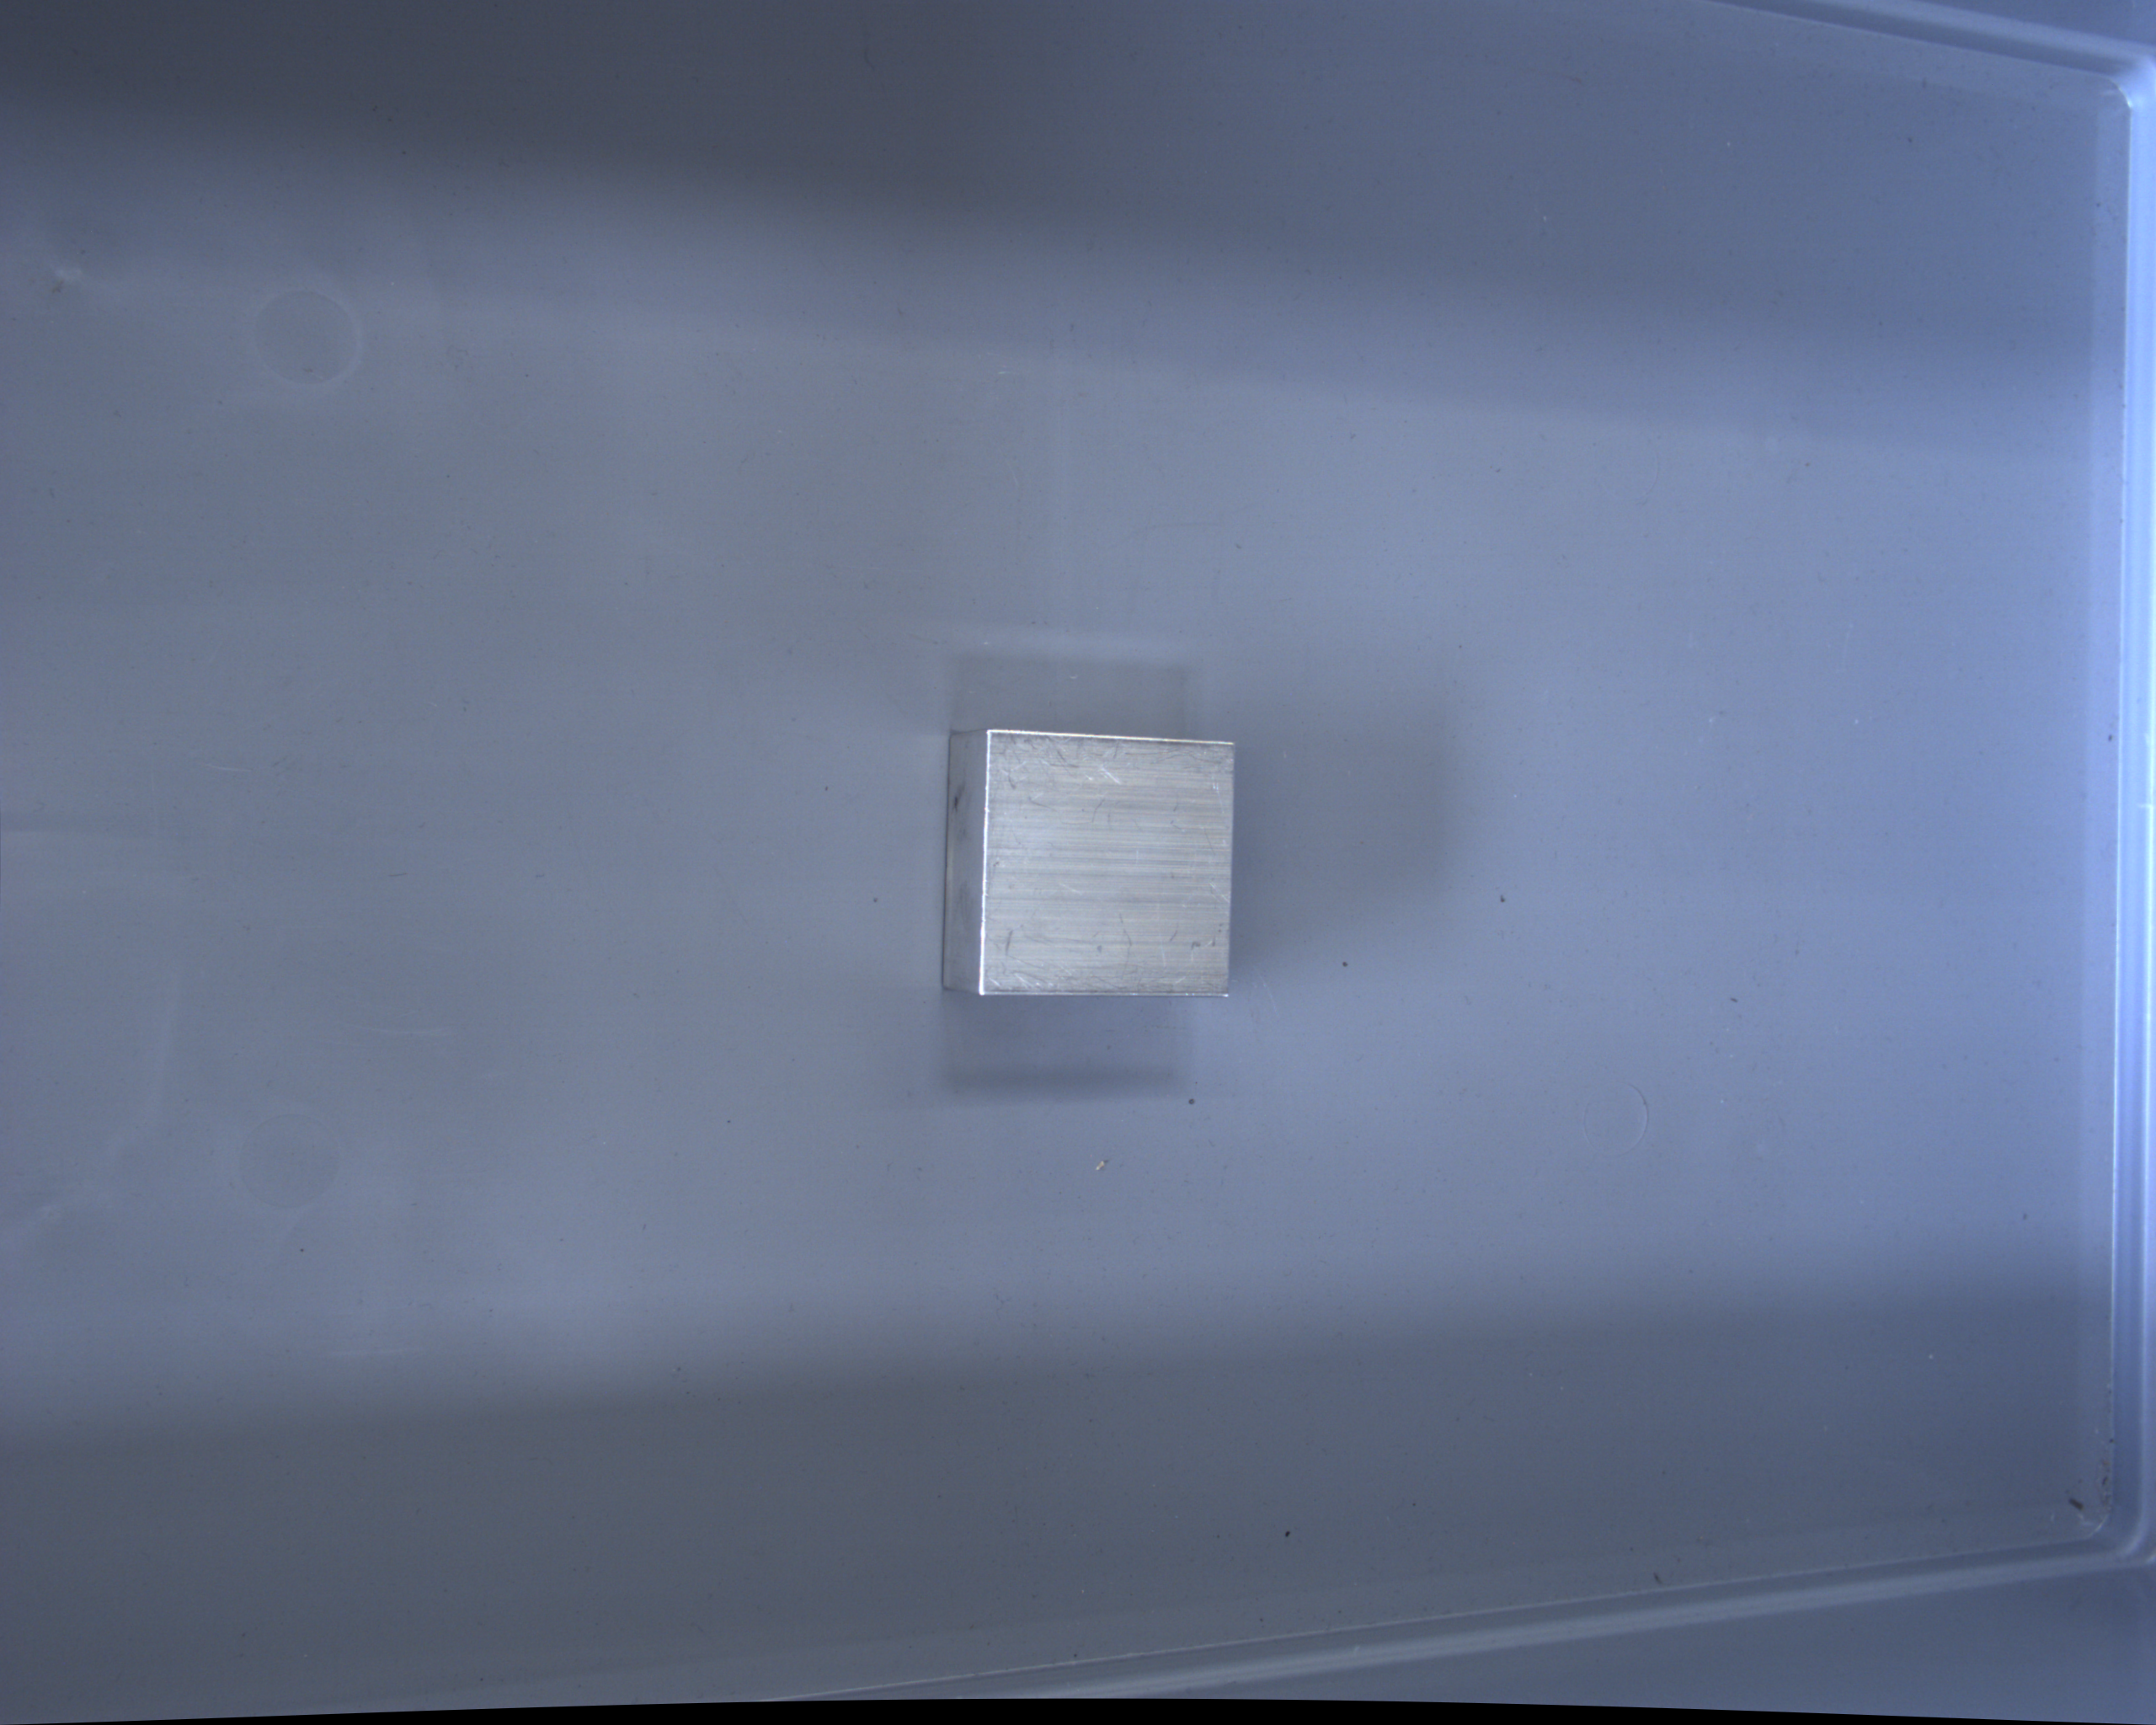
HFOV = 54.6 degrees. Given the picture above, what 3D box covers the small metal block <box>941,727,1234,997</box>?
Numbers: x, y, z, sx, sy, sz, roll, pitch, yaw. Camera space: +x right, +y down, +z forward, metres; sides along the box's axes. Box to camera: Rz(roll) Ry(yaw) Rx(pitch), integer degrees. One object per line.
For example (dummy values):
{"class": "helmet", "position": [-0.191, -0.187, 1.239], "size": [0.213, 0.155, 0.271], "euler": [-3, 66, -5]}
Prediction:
{"class": "small metal block", "position": [0.002, 0.000, 0.407], "size": [0.050, 0.025, 0.050], "euler": [2, 90, -20]}
